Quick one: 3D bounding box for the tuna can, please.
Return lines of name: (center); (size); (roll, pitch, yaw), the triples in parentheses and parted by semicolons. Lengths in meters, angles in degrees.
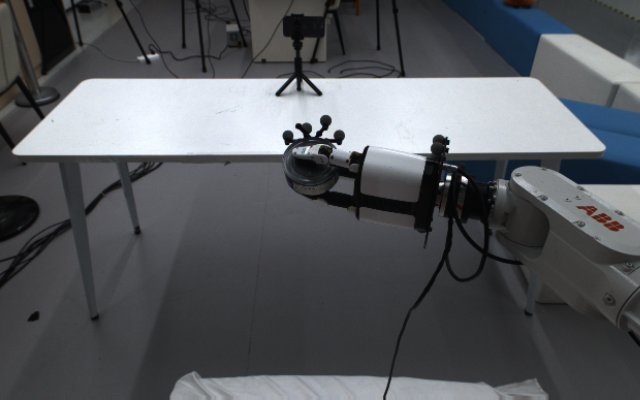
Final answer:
tuna can: (-0.011, -0.046, 0.716); (0.085, 0.034, 0.085); (-1, 58, 2)
